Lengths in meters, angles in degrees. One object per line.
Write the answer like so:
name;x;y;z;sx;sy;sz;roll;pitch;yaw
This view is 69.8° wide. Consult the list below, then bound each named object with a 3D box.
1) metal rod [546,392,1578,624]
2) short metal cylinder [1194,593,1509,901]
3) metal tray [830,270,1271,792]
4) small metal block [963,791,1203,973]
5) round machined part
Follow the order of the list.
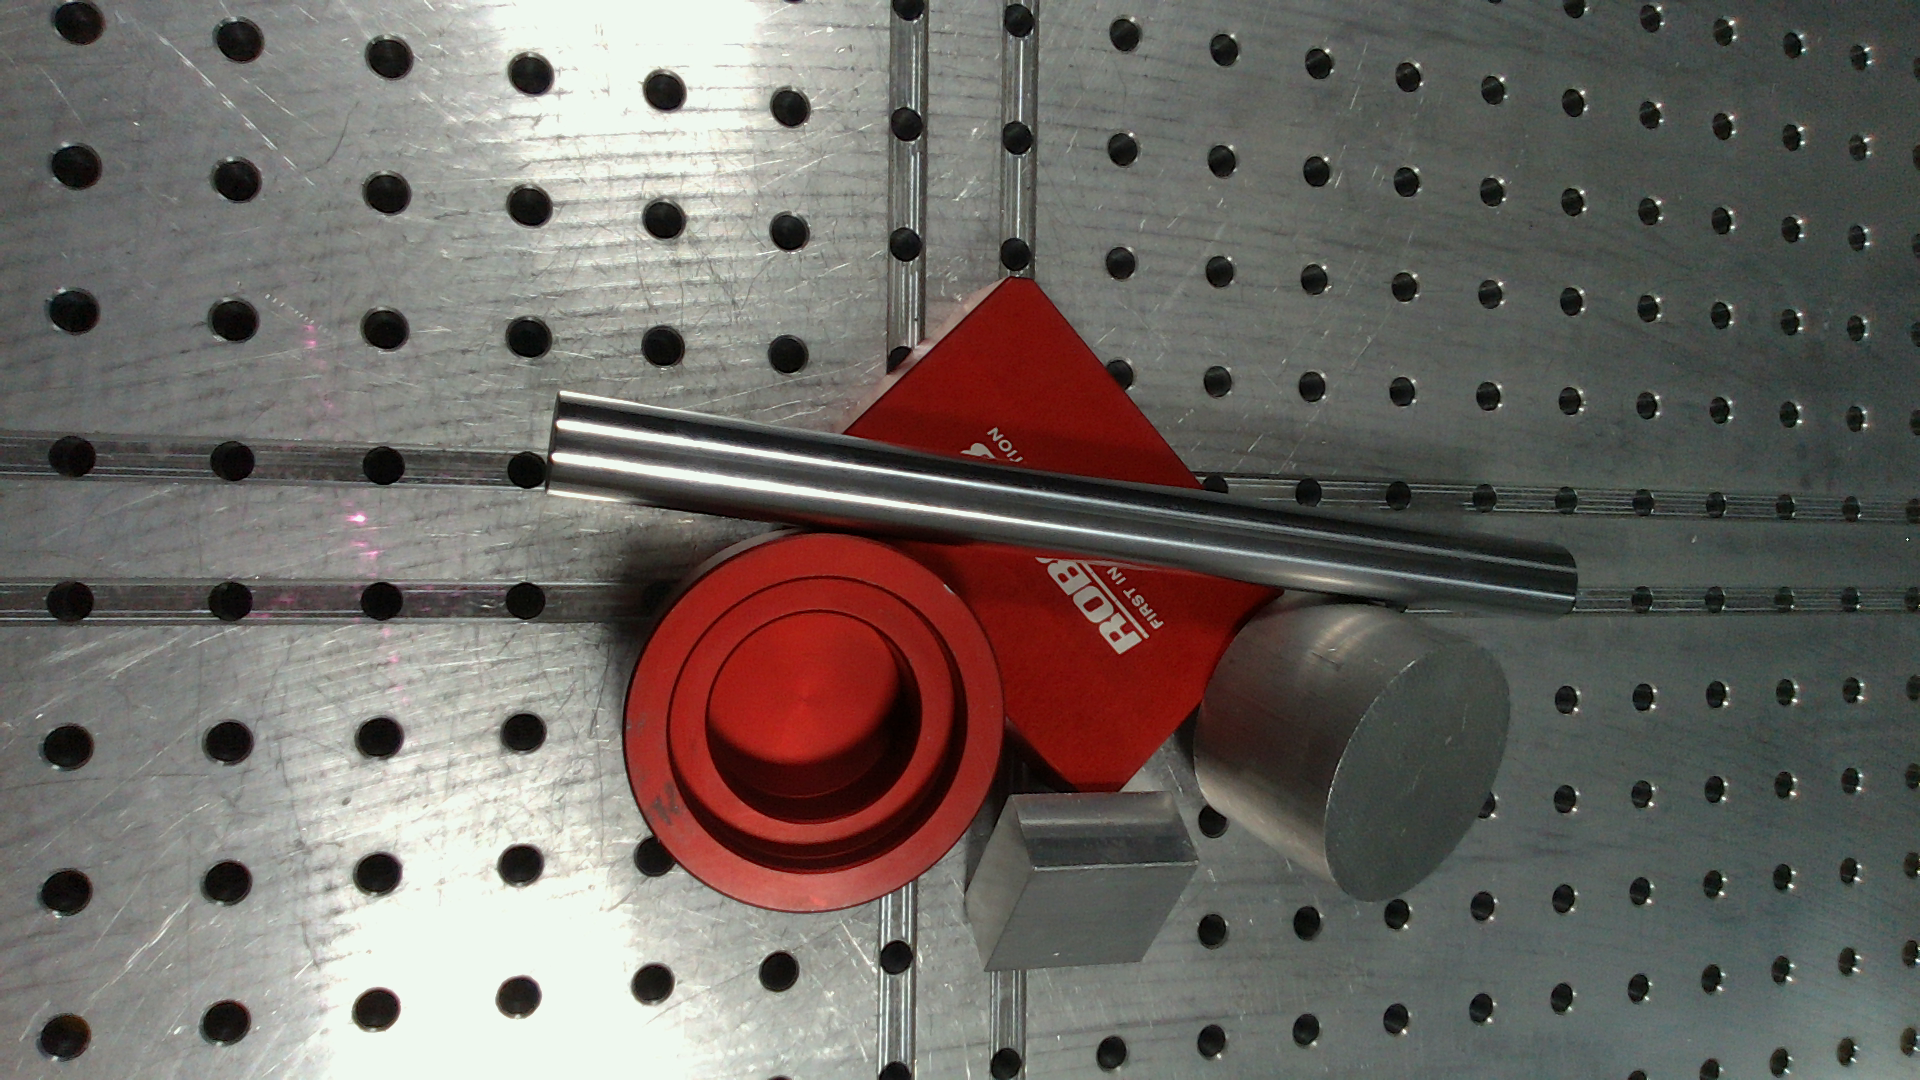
metal rod;0.043;-0.004;0.378;0.301;0.025;0.025;7;88;-20
short metal cylinder;0.116;0.059;0.409;0.080;0.050;0.080;-15;117;-32
metal tray;0.024;-0.001;0.403;0.090;0.030;0.130;-45;104;-14
small metal block;0.034;0.098;0.394;0.050;0.025;0.050;3;132;-20
round machined part;-0.041;0.045;0.367;0.098;0.042;0.098;-2;97;-15
